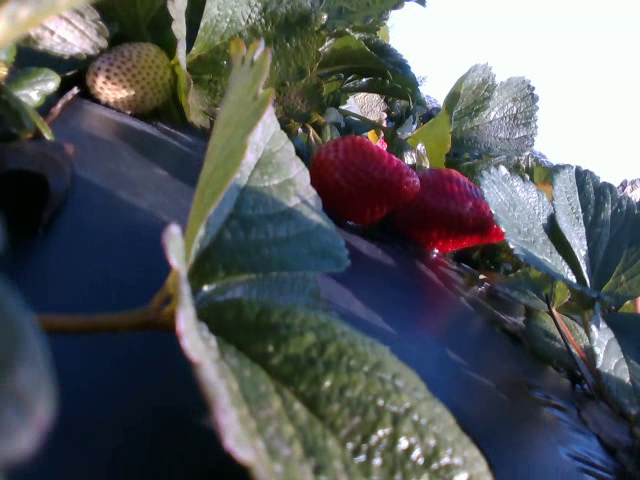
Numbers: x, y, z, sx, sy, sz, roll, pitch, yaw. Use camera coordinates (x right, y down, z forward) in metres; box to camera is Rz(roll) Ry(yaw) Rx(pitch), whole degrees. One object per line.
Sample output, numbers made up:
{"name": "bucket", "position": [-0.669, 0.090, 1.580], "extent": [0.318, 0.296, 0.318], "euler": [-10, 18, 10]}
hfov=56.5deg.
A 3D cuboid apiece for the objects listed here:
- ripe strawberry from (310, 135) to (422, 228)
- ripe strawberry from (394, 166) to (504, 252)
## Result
{"name": "ripe strawberry", "position": [0.018, -0.022, 0.223], "extent": [0.051, 0.037, 0.043], "euler": [20, 36, 37]}
{"name": "ripe strawberry", "position": [0.060, -0.010, 0.258], "extent": [0.052, 0.046, 0.057], "euler": [-19, 28, -39]}
